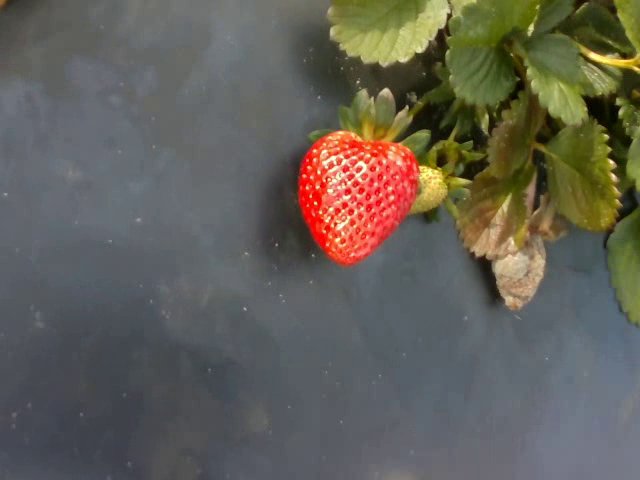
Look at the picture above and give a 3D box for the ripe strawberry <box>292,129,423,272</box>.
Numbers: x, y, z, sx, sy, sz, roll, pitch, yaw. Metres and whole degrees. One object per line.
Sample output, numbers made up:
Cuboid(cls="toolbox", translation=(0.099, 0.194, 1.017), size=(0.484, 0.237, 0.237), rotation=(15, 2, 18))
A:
Cuboid(cls="ripe strawberry", translation=(0.011, -0.013, 0.179), size=(0.045, 0.058, 0.050), rotation=(32, -35, -27))
